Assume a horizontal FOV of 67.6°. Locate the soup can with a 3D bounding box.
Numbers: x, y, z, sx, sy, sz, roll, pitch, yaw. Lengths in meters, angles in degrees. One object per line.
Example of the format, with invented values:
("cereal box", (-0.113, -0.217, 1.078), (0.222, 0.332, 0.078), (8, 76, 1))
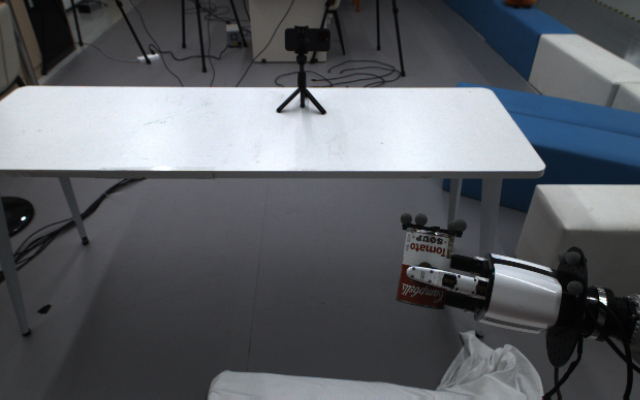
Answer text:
("soup can", (0.150, 0.094, 0.678), (0.067, 0.101, 0.067), (9, -5, 1))
